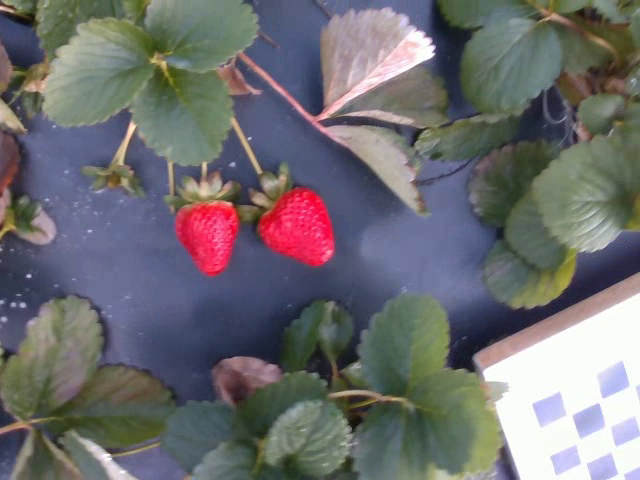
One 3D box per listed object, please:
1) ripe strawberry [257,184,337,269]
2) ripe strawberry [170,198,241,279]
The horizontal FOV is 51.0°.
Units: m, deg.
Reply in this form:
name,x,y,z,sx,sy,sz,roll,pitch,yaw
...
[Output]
name,x,y,z,sx,sy,sz,roll,pitch,yaw
ripe strawberry,-0.013,-0.005,0.456,0.064,0.058,0.051,46,5,14
ripe strawberry,-0.075,-0.002,0.453,0.048,0.056,0.041,-13,-4,-5
